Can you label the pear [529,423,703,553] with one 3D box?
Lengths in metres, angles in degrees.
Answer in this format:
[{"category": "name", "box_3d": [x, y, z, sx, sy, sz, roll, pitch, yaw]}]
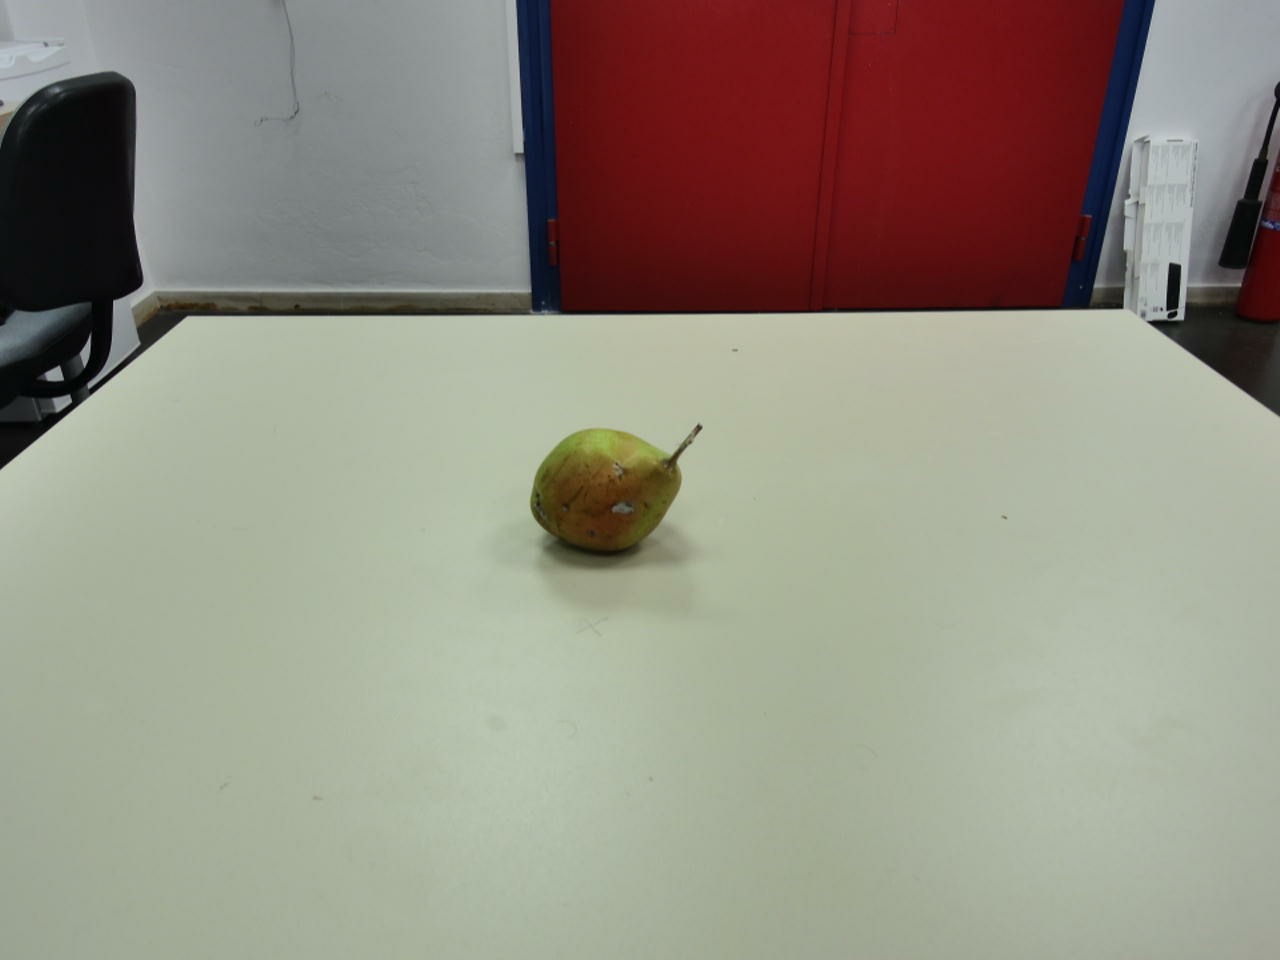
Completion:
[{"category": "pear", "box_3d": [-0.017, 0.002, 0.505, 0.068, 0.069, 0.070, -20, 32, -34]}]
